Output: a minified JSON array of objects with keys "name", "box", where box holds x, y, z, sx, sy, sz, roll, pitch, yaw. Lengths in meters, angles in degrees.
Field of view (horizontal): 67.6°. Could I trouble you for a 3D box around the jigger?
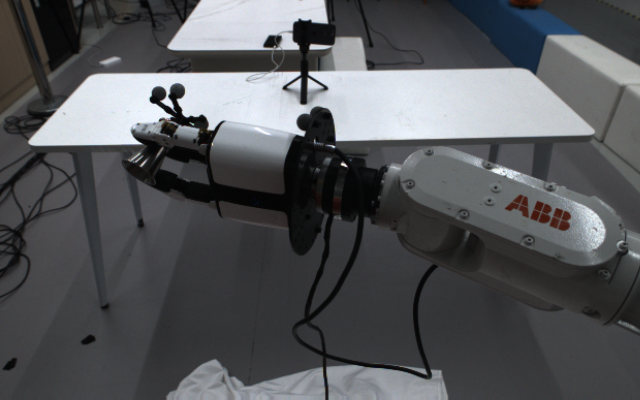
[{"name":"jigger","box":[-0.189,-0.059,0.555,0.043,0.043,0.071,19,62,23]}]
